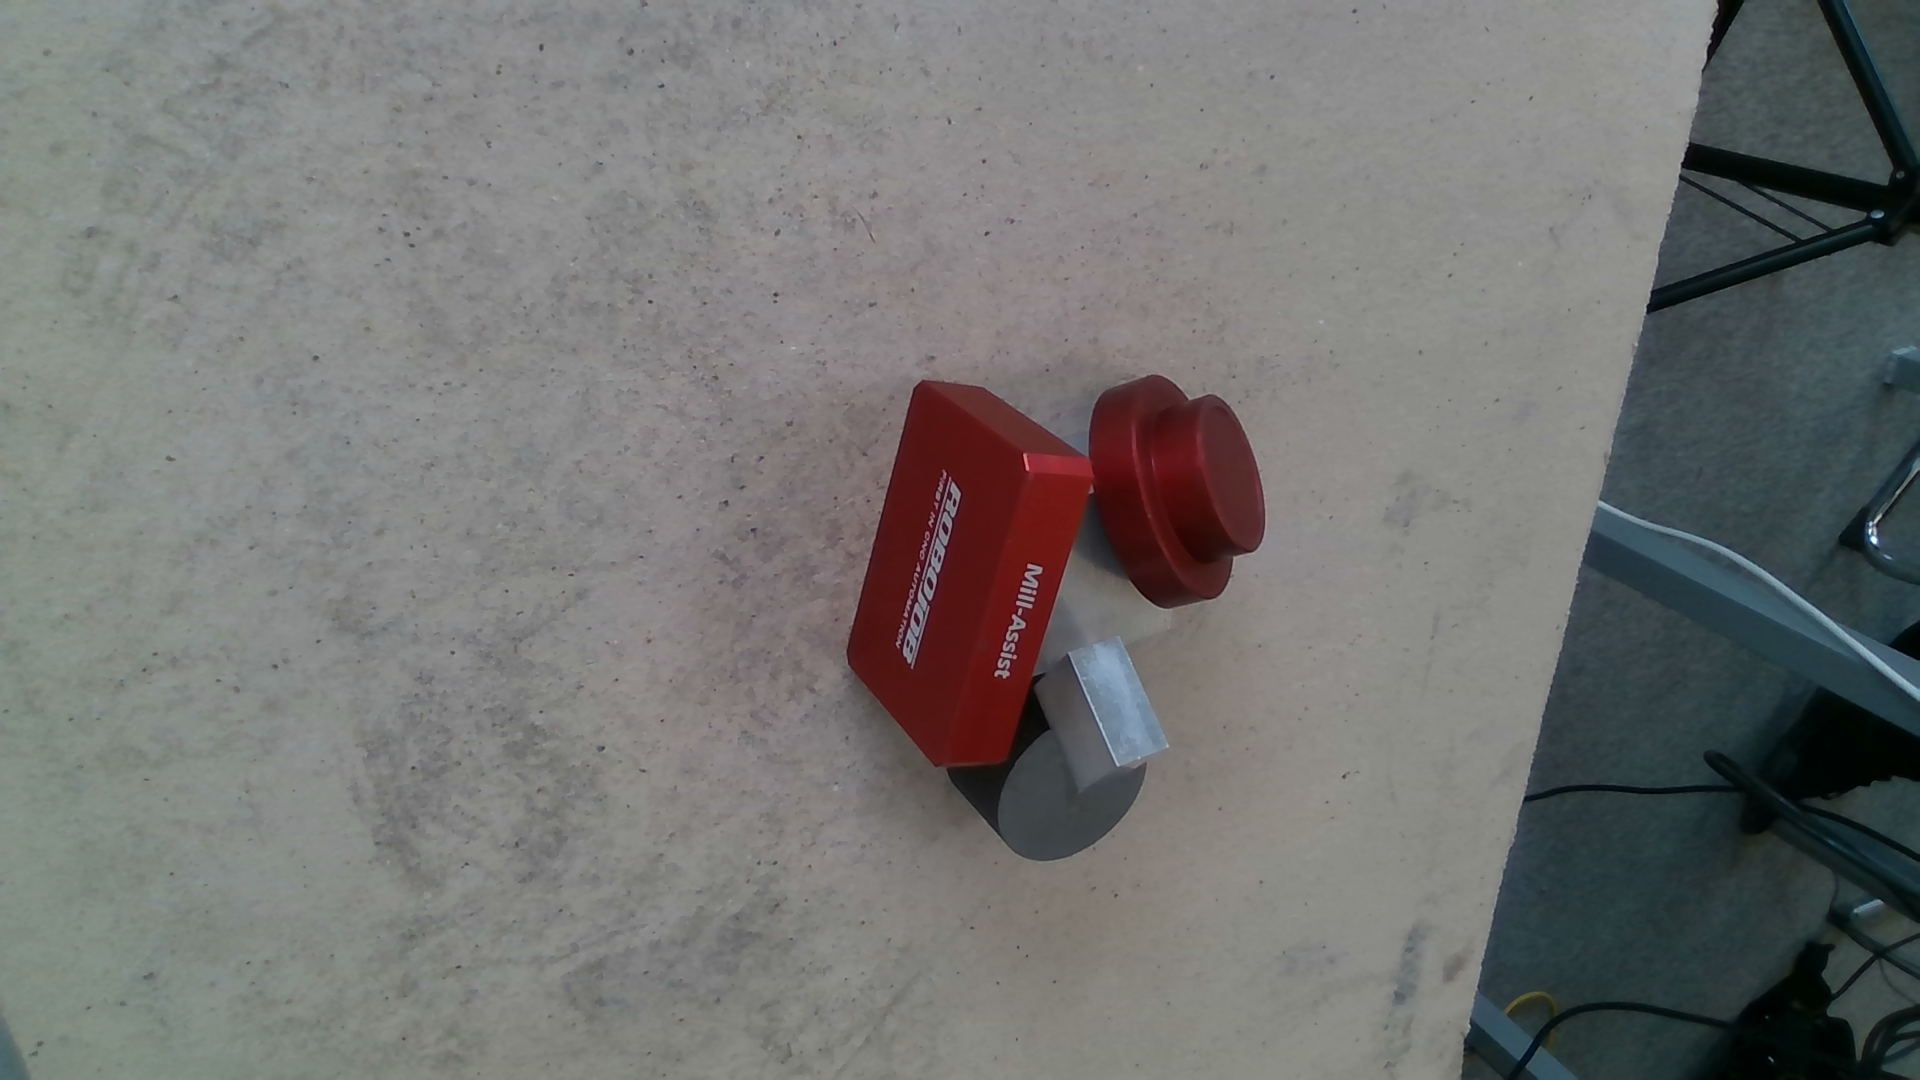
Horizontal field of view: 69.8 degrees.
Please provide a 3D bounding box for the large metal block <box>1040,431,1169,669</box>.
[{"bbox_3d":[0.045,0.004,0.596,0.080,0.050,0.080,-16,122,-24],"label":"large metal block"}]

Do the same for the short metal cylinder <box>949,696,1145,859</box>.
[{"bbox_3d":[0.040,0.101,0.645,0.080,0.050,0.080,-14,122,-25],"label":"short metal cylinder"}]

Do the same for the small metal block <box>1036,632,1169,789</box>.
[{"bbox_3d":[0.058,0.073,0.582,0.025,0.050,0.050,-17,164,-21],"label":"small metal block"}]

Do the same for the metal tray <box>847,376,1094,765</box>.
[{"bbox_3d":[0.000,0.011,0.545,0.030,0.090,0.130,3,113,-32],"label":"metal tray"}]

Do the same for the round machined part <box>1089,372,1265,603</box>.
[{"bbox_3d":[0.096,-0.024,0.579,0.042,0.098,0.098,-14,137,30],"label":"round machined part"}]
